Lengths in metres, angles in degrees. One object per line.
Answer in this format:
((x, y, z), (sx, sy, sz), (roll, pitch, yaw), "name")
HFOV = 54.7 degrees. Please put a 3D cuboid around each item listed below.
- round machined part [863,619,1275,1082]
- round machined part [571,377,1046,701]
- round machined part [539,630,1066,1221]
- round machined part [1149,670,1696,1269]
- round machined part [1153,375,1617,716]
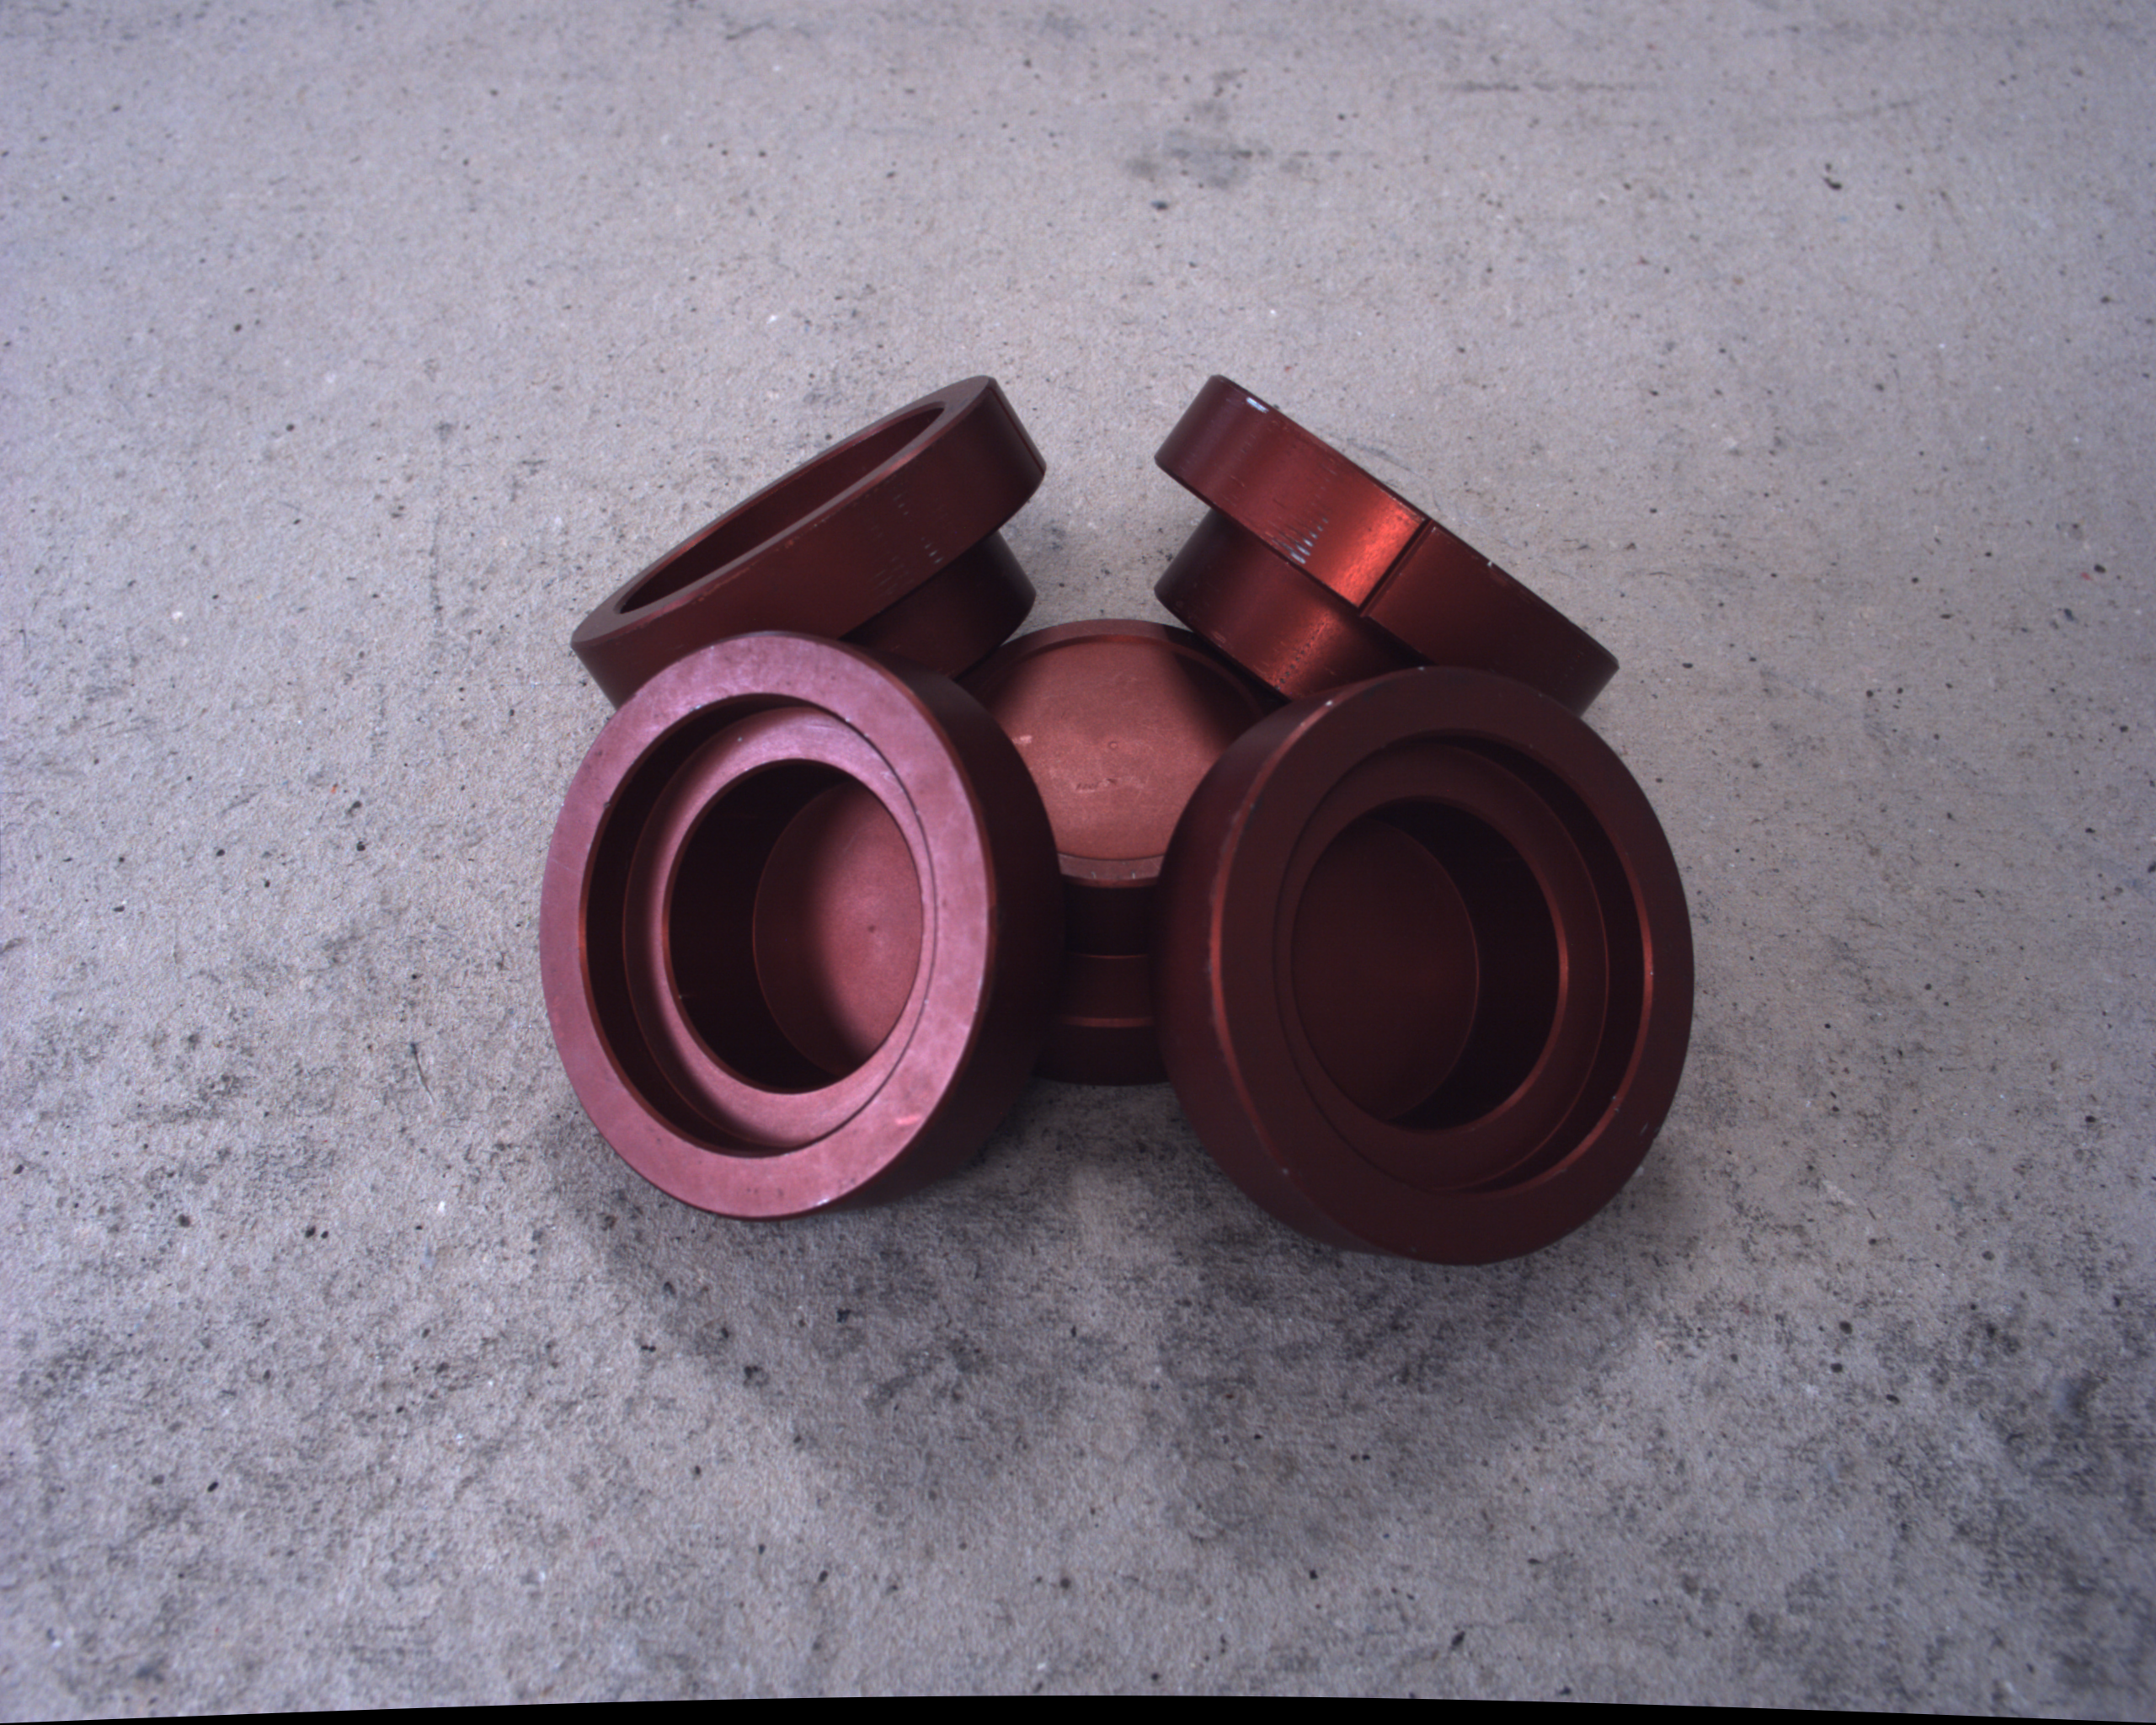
((0.007, -0.009, 0.401), (0.099, 0.042, 0.098), (1, 48, -1), "round machined part")
((-0.048, -0.053, 0.417), (0.098, 0.042, 0.098), (-29, 18, 11), "round machined part")
((-0.043, 0.011, 0.361), (0.098, 0.098, 0.042), (39, 16, 28), "round machined part")
((0.055, 0.019, 0.357), (0.099, 0.042, 0.097), (3, 83, -28), "round machined part")
((0.054, -0.051, 0.414), (0.098, 0.098, 0.042), (42, 102, 29), "round machined part")
